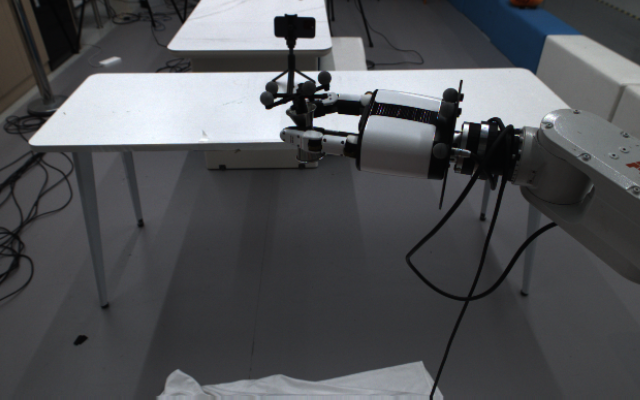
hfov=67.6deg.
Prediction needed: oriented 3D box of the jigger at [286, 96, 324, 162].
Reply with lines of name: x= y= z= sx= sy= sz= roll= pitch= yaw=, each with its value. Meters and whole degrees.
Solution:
jigger: x=-0.017 y=-0.089 z=0.638 sx=0.043 sy=0.071 sz=0.043 roll=-10 pitch=32 yaw=6
